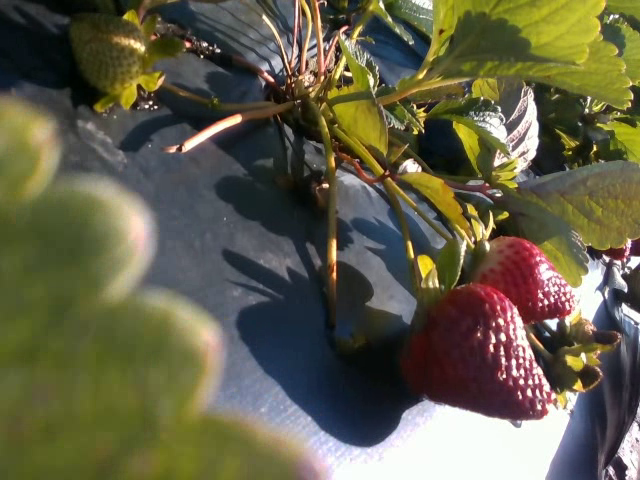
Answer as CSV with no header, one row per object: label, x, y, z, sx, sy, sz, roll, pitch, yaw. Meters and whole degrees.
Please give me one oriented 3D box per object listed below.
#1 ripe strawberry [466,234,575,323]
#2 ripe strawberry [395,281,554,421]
ripe strawberry,0.086,0.019,0.247,0.049,0.042,0.039,25,-24,6
ripe strawberry,0.052,0.038,0.185,0.050,0.045,0.050,36,11,26
